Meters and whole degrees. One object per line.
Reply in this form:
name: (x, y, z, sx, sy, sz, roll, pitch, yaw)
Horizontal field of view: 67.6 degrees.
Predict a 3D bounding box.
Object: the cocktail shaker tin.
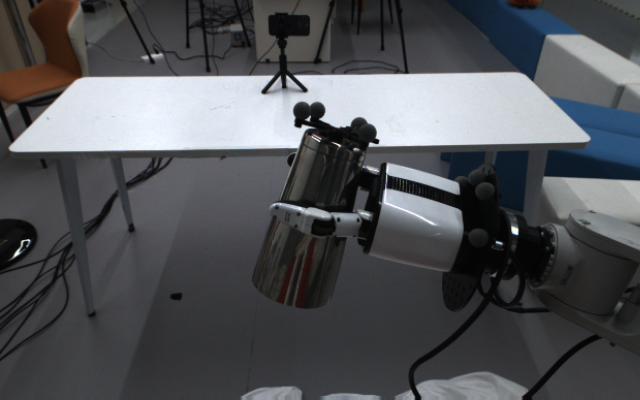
cocktail shaker tin: (-0.006, 0.017, 0.511, 0.093, 0.170, 0.093, 15, 17, -5)
